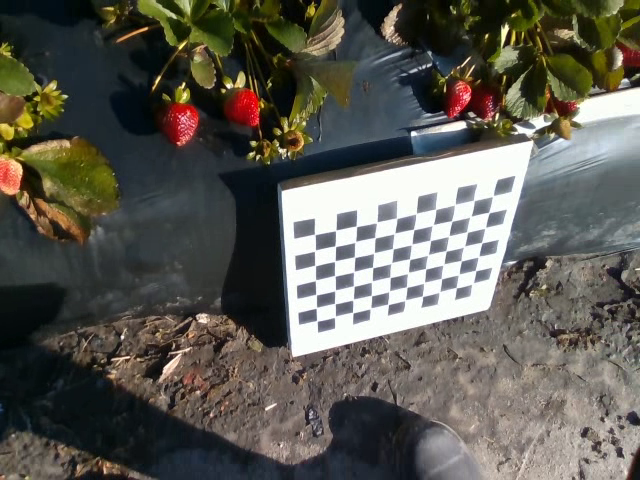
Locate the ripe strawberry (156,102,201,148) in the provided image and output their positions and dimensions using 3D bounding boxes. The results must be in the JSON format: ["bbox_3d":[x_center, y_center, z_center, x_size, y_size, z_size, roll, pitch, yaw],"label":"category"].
[{"bbox_3d":[-0.147,-0.114,0.661,0.050,0.050,0.045,0,-25,-25],"label":"ripe strawberry"}]

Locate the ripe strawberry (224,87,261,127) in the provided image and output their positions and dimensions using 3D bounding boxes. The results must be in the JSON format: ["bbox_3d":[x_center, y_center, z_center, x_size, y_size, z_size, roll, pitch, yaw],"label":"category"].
[{"bbox_3d":[-0.078,-0.134,0.677,0.042,0.049,0.039,-41,-19,21],"label":"ripe strawberry"}]
